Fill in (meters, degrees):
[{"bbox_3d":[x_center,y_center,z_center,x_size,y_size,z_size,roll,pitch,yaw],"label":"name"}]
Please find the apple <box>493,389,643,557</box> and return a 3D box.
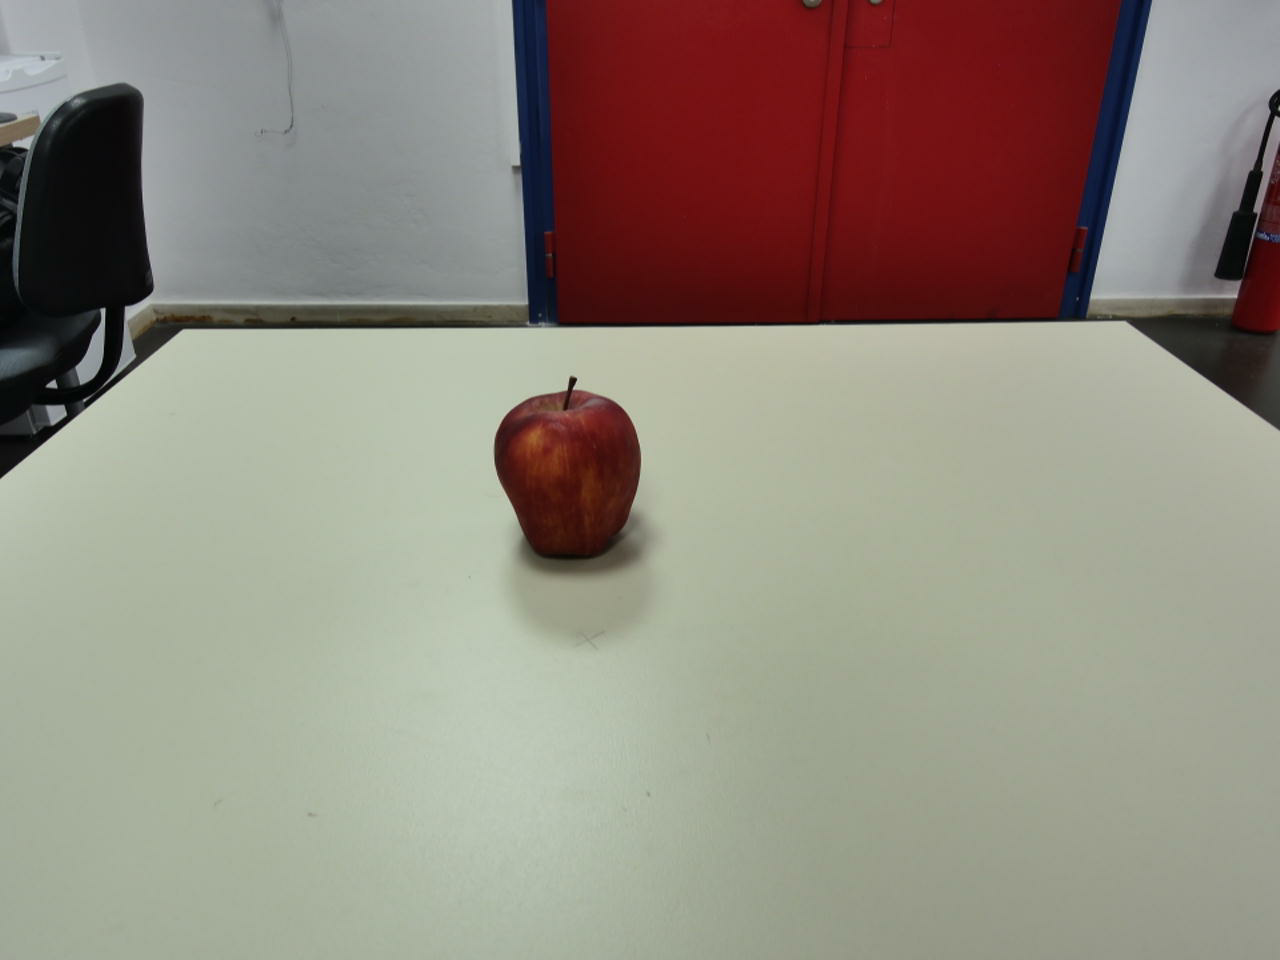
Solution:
[{"bbox_3d":[-0.039,-0.010,0.521,0.083,0.090,0.083,-1,26,1],"label":"apple"}]
